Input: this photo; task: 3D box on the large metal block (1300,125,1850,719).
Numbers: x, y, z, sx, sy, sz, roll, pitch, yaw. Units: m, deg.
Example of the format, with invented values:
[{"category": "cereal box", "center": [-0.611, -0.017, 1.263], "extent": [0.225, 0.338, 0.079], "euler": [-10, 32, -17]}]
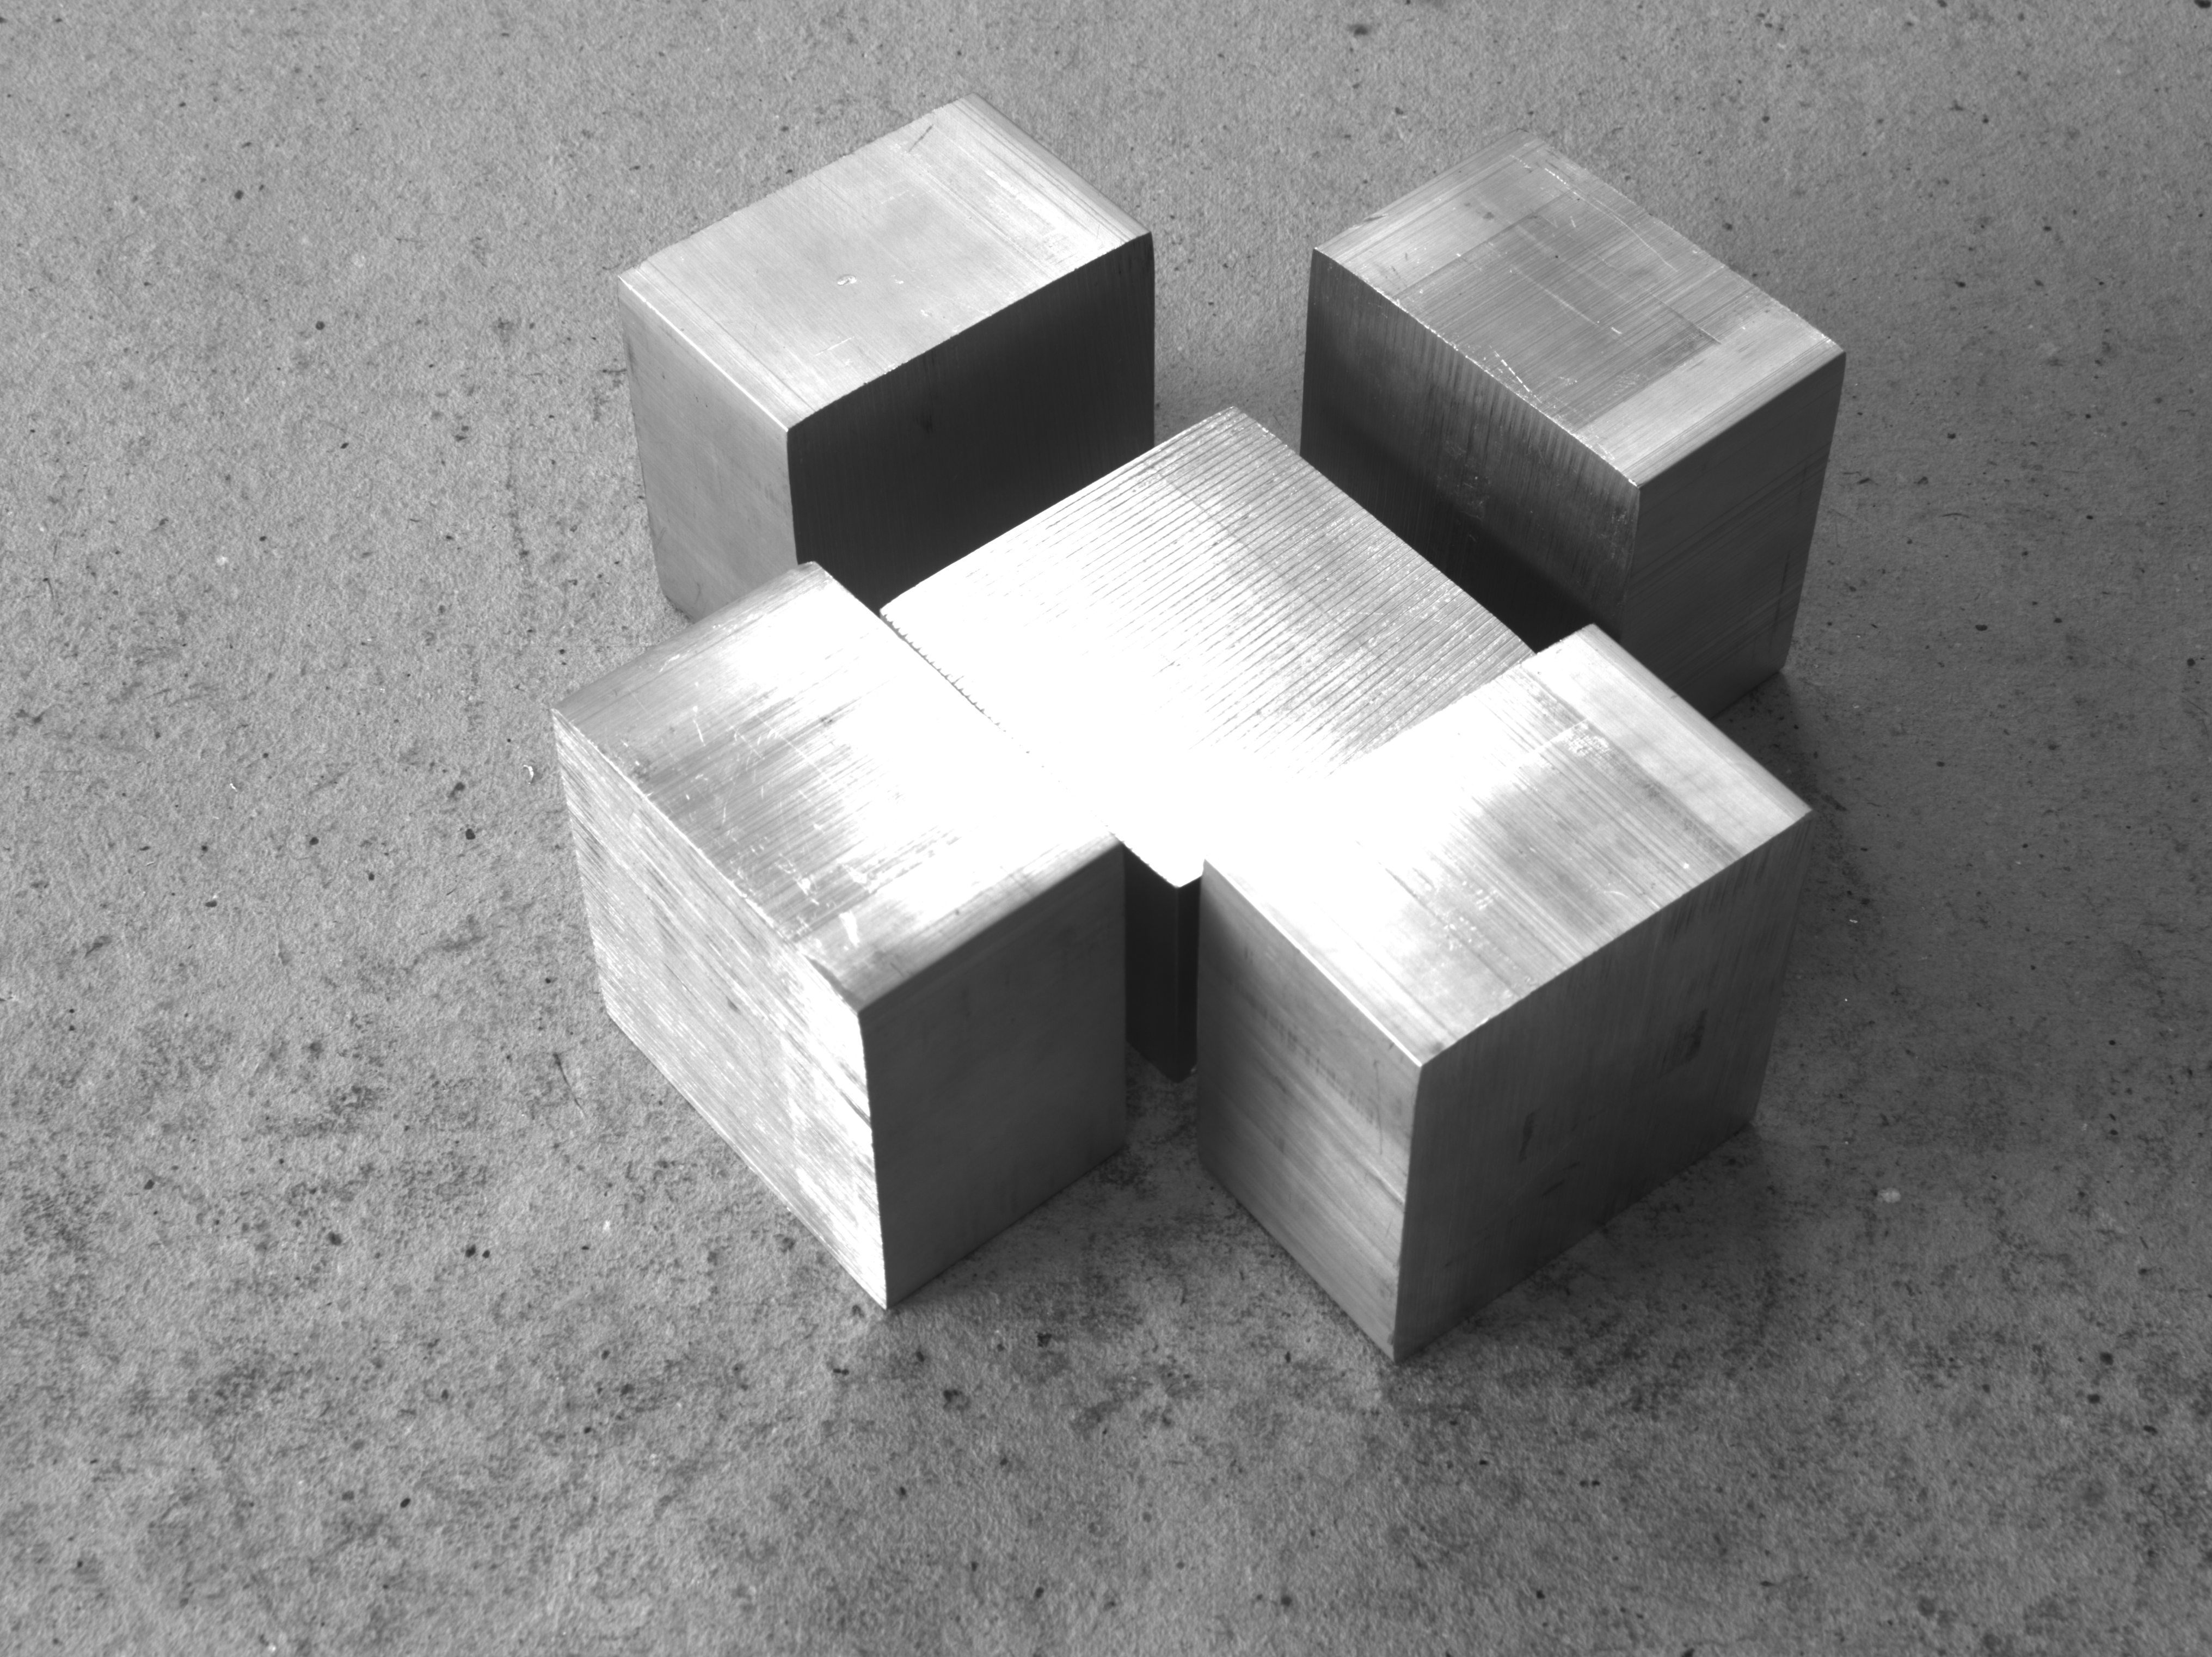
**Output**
[{"category": "large metal block", "center": [0.081, -0.065, 0.662], "extent": [0.050, 0.080, 0.080], "euler": [-33, 57, -25]}]

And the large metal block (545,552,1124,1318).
[{"category": "large metal block", "center": [-0.042, 0.017, 0.592], "extent": [0.050, 0.080, 0.080], "euler": [-32, 57, -24]}]

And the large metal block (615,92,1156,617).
[{"category": "large metal block", "center": [-0.038, -0.074, 0.670], "extent": [0.080, 0.080, 0.050], "euler": [-32, 56, -24]}]

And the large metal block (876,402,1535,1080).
[{"category": "large metal block", "center": [0.017, -0.017, 0.638], "extent": [0.080, 0.050, 0.080], "euler": [-32, 57, -24]}]

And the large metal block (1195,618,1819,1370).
[{"category": "large metal block", "center": [0.061, 0.026, 0.584], "extent": [0.080, 0.080, 0.050], "euler": [-30, 55, -23]}]
